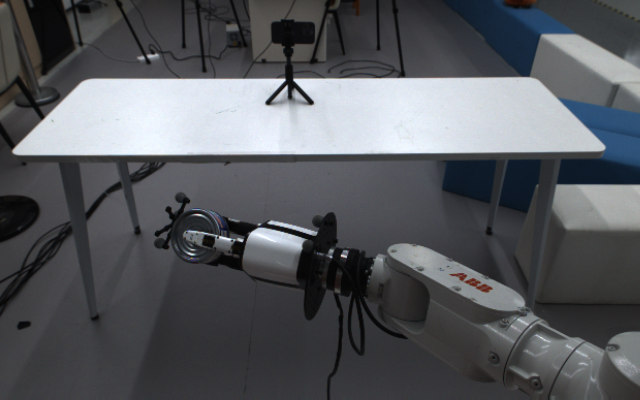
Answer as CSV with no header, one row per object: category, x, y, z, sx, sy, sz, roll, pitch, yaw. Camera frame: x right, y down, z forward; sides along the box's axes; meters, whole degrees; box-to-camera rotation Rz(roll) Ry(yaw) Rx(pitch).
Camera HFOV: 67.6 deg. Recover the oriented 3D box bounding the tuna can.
tuna can,-0.185,0.055,0.747,0.085,0.085,0.034,13,-2,15
